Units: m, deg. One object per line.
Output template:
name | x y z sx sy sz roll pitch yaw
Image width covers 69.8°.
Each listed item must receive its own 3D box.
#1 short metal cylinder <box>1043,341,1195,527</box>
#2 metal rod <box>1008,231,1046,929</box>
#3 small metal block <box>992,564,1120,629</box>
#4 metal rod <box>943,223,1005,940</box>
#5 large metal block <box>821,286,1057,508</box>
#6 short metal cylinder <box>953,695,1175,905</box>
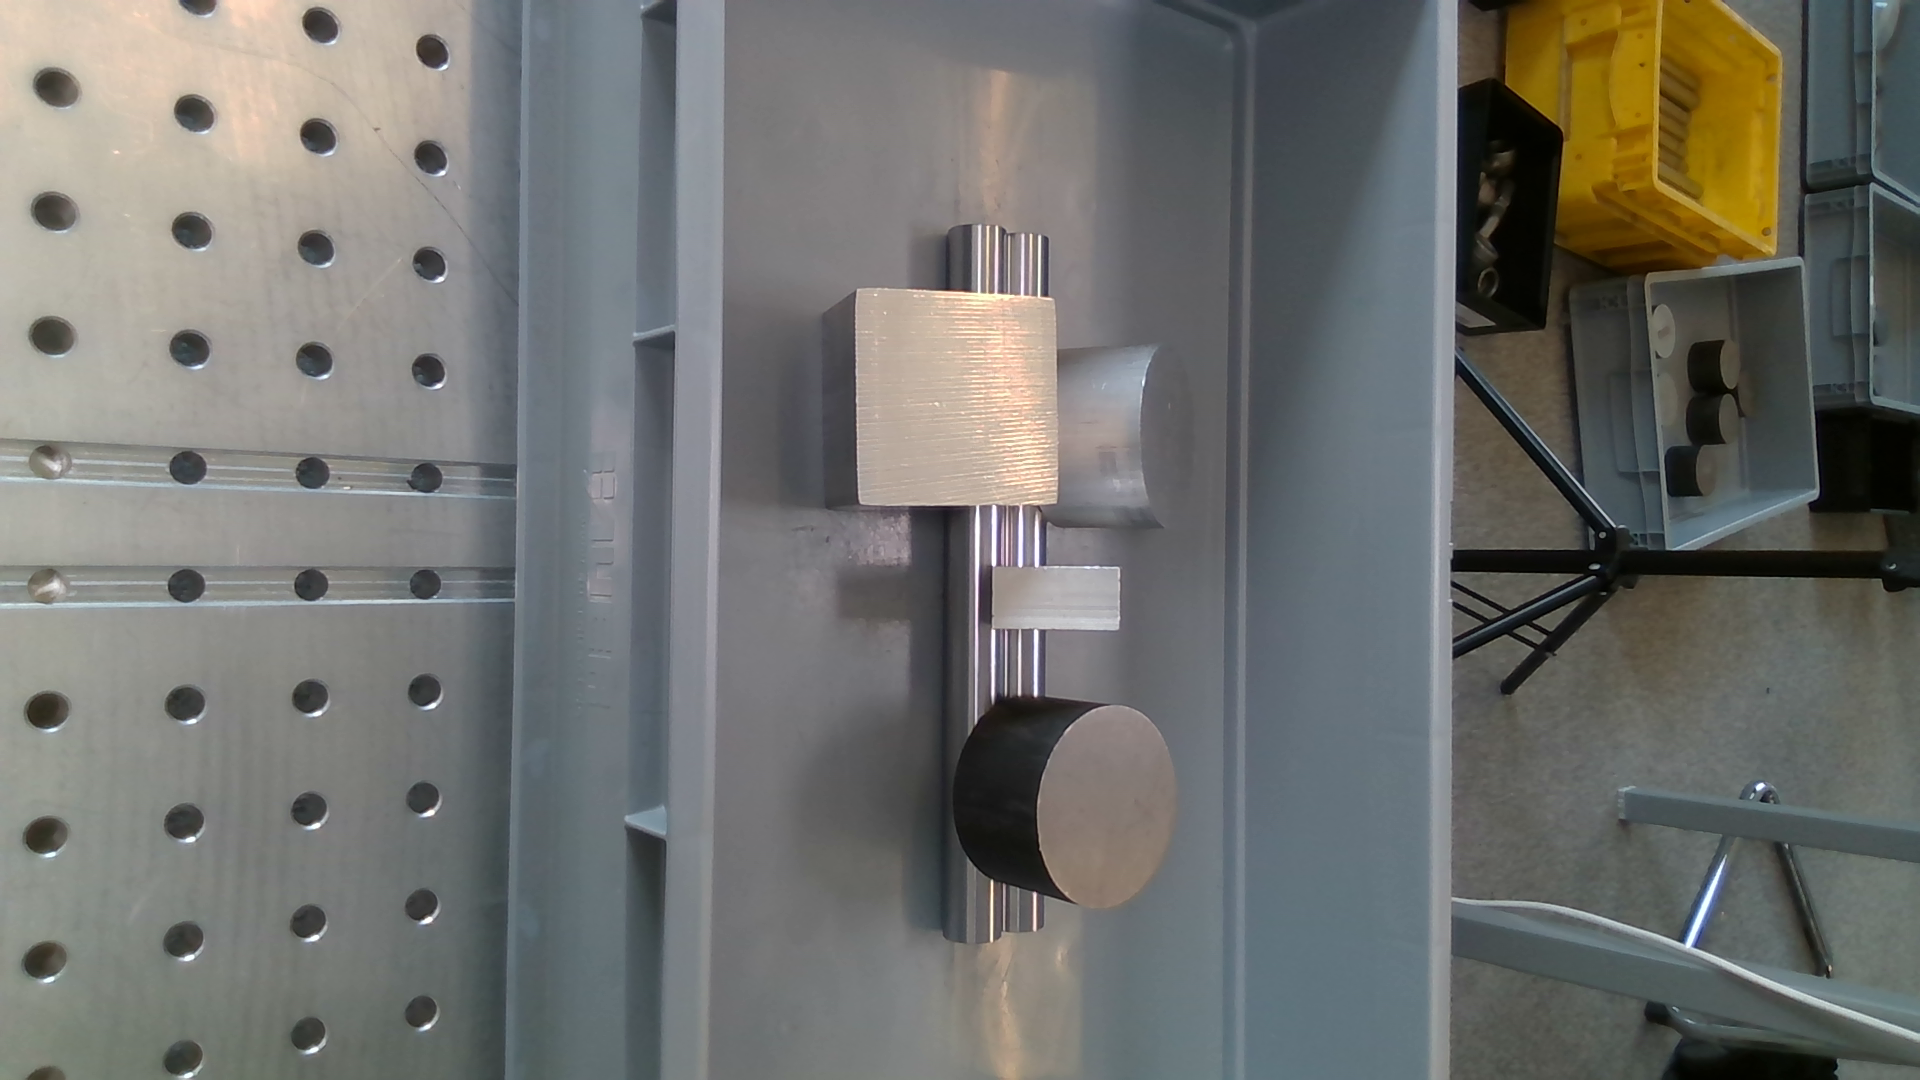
short metal cylinder | 0.068 -0.046 0.604 0.080 0.050 0.080 1 90 -64
metal rod | 0.025 0.017 0.604 0.025 0.025 0.300 0 90 -40
small metal block | 0.041 0.022 0.563 0.050 0.050 0.025 3 87 -82
metal rod | 0.006 0.017 0.588 0.025 0.025 0.300 0 90 -40
large metal block | -0.009 -0.053 0.540 0.080 0.050 0.080 -1 91 -20
short metal cylinder | 0.044 0.106 0.570 0.080 0.050 0.080 0 90 -40
